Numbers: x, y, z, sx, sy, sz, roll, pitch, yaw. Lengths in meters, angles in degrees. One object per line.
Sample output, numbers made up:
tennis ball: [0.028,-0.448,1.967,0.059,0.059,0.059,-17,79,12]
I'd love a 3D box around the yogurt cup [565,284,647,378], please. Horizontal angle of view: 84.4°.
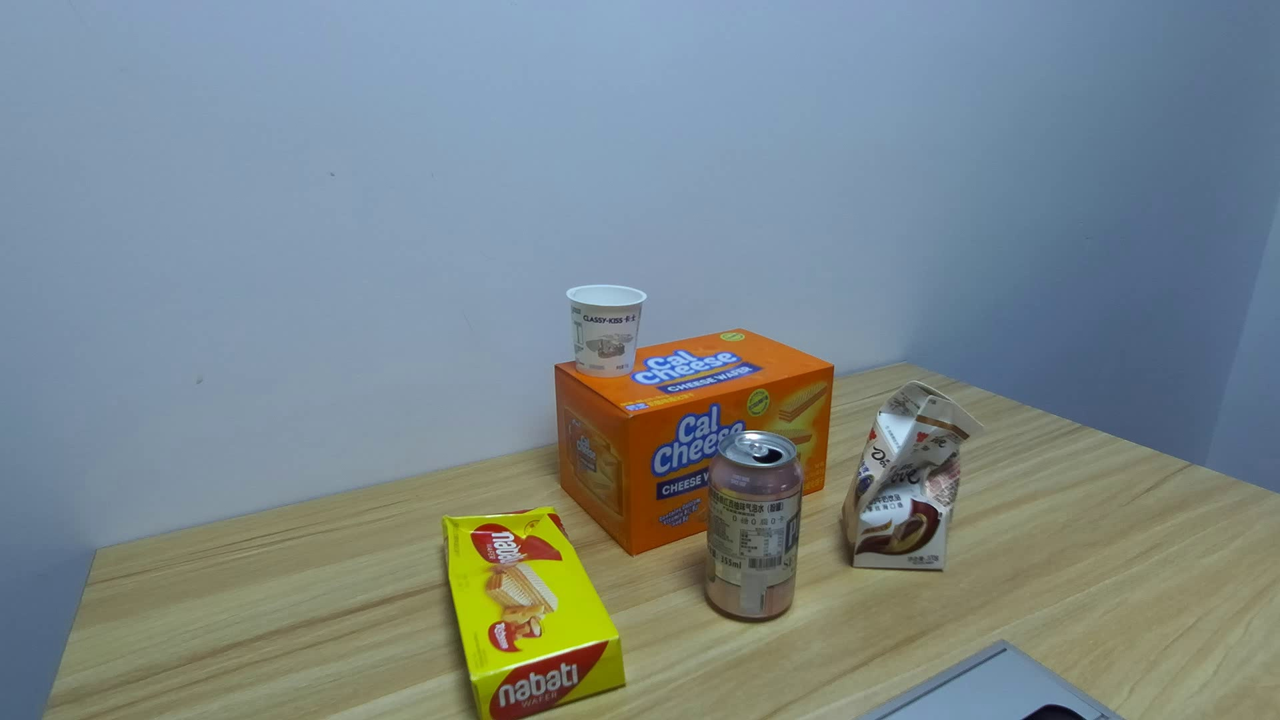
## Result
yogurt cup: [-0.030,-0.025,0.624,0.072,0.068,0.072,2,19,0]

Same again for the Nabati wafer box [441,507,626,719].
Nabati wafer box: [-0.086,0.165,0.511,0.097,0.042,0.202,-8,19,-18]

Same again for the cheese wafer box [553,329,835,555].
cheese wafer box: [0.049,0.063,0.666,0.223,0.129,0.147,-11,22,-29]

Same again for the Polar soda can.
Polar soda can: [0.081,0.119,0.508,0.067,0.125,0.067,0,18,0]

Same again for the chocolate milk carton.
chocolate milk carton: [0.217,0.091,0.563,0.089,0.155,0.076,14,21,-3]
